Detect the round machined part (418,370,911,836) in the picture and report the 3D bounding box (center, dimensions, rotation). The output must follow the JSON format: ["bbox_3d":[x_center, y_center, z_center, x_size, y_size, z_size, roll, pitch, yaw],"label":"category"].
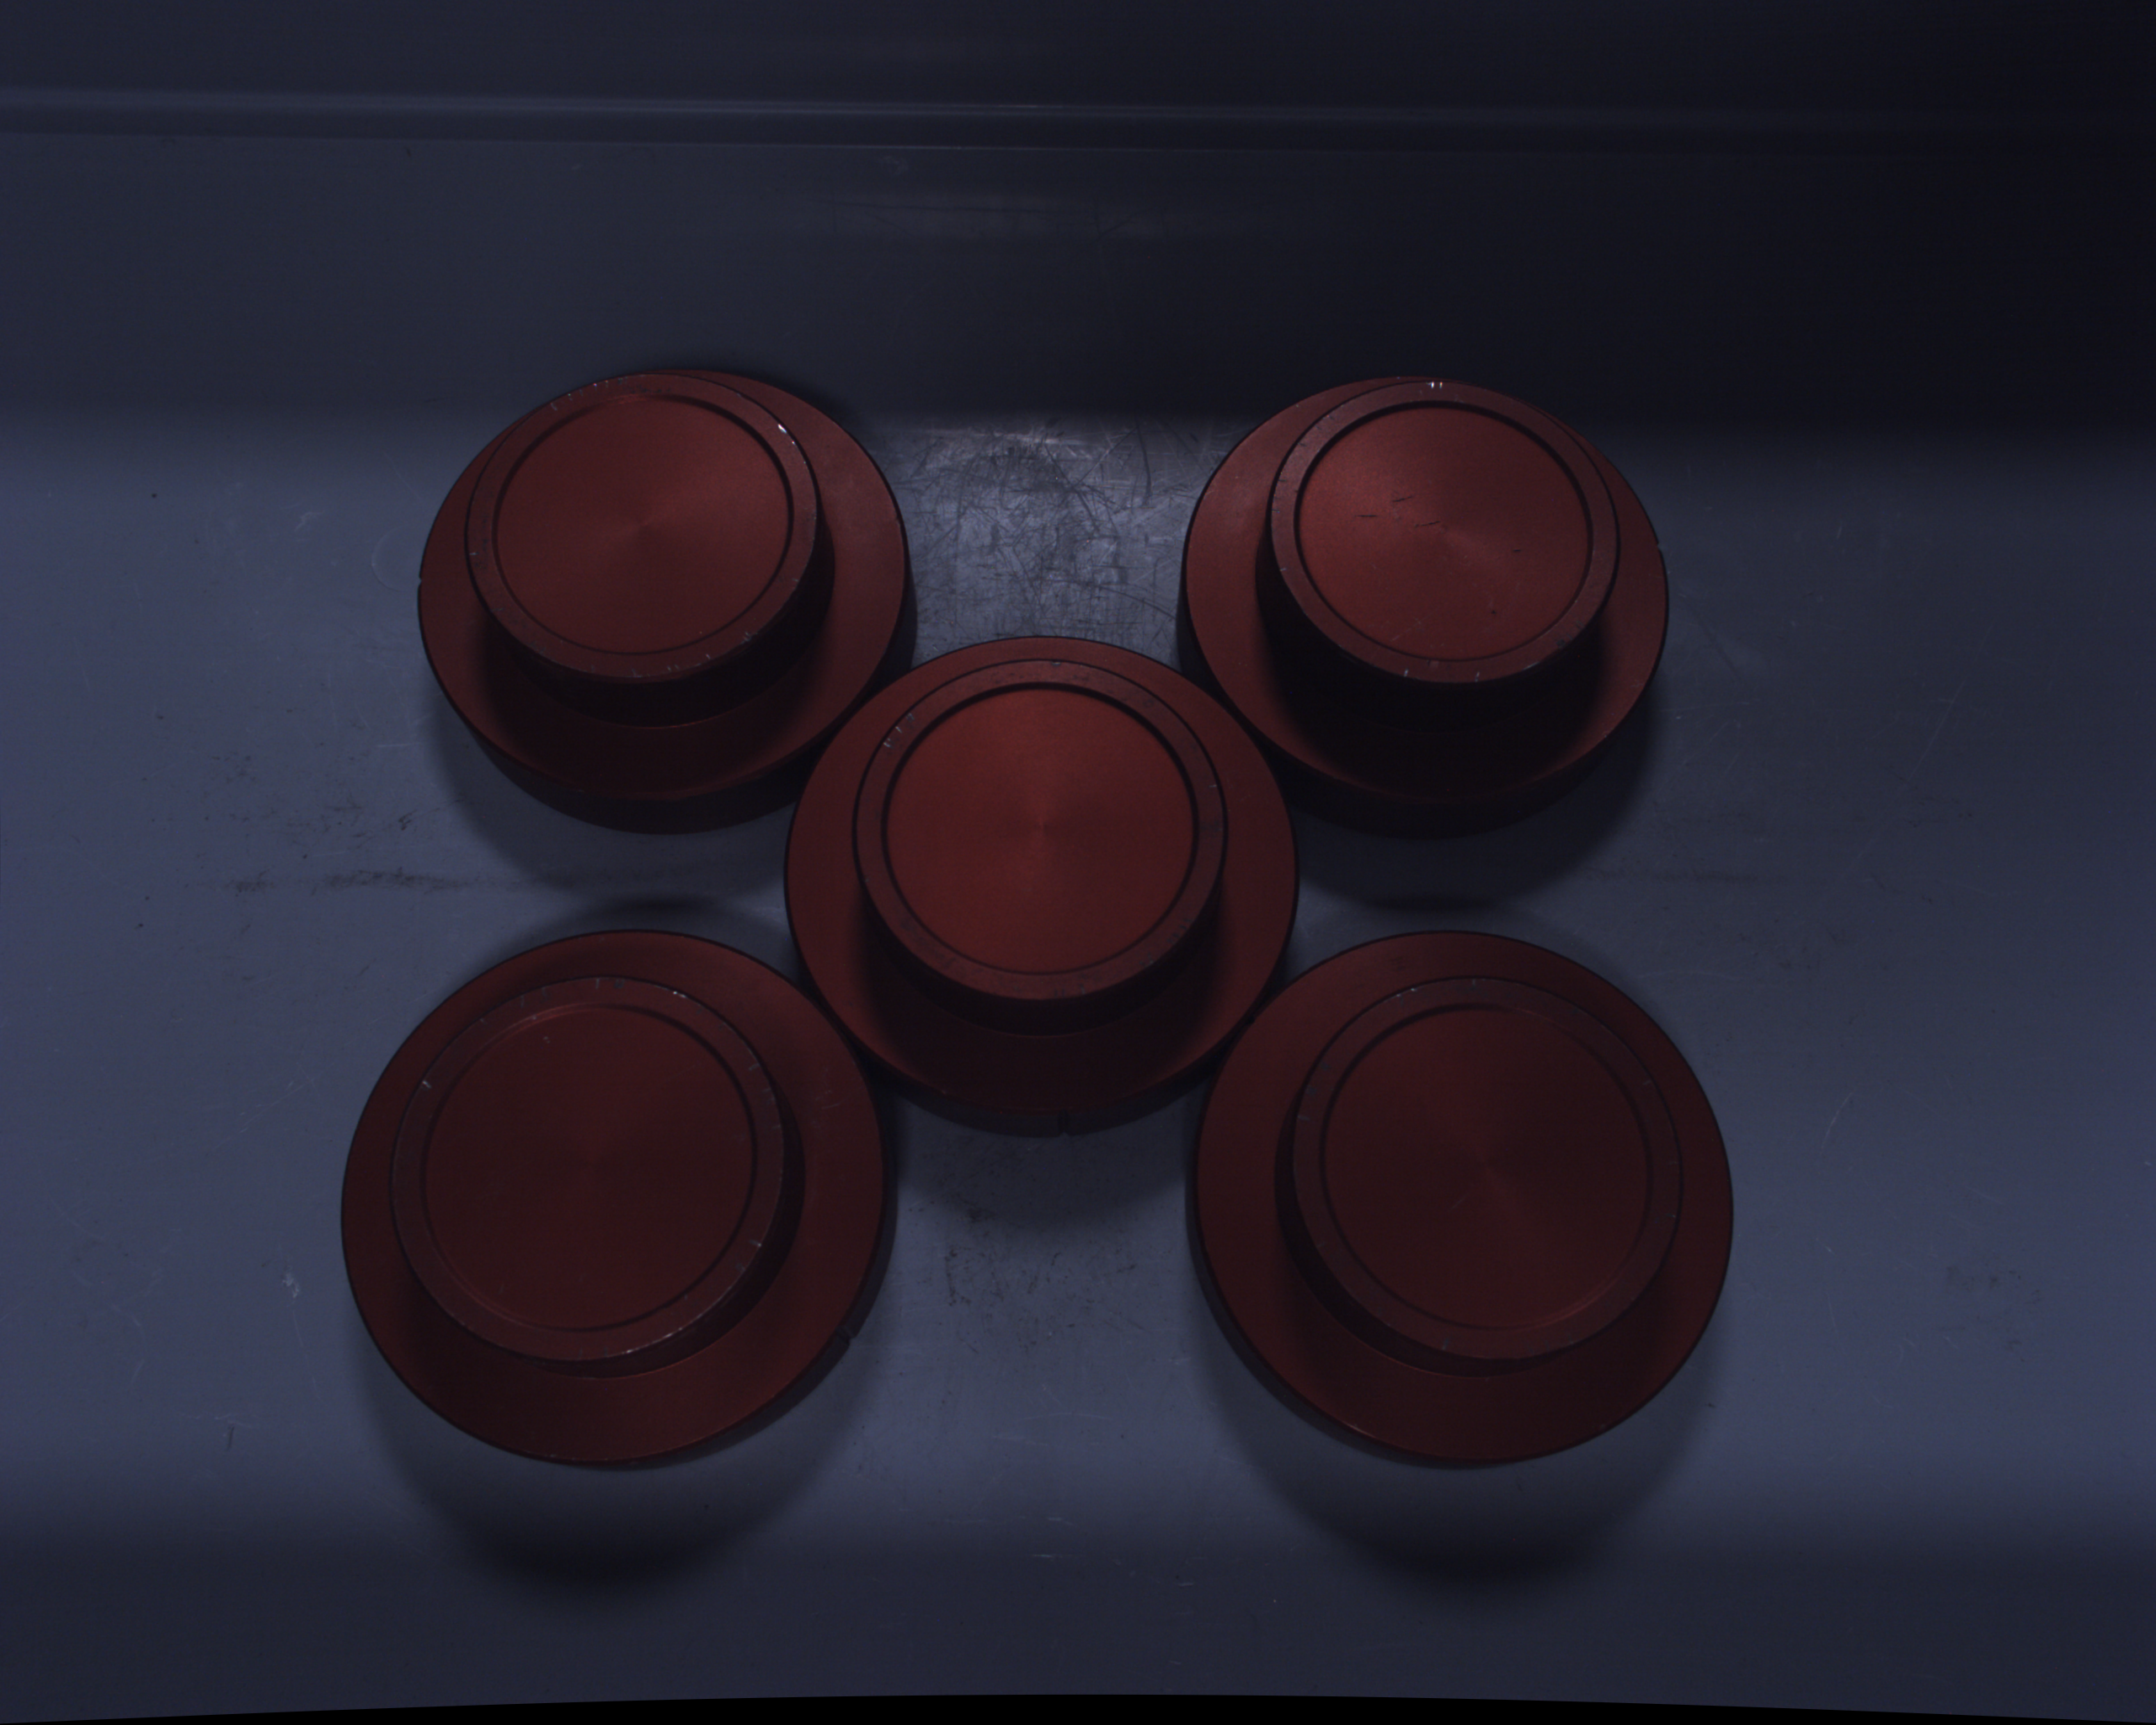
[{"bbox_3d":[-0.083,-0.058,0.419,0.099,0.042,0.098,0,70,-1],"label":"round machined part"}]

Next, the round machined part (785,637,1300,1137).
[{"bbox_3d":[-0.007,0.000,0.398,0.099,0.042,0.098,0,70,-1],"label":"round machined part"}]

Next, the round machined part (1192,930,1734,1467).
[{"bbox_3d":[0.070,0.058,0.379,0.099,0.042,0.098,0,70,-1],"label":"round machined part"}]

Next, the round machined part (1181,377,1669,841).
[{"bbox_3d":[0.070,-0.057,0.421,0.099,0.042,0.098,0,70,-1],"label":"round machined part"}]

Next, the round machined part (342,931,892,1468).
[{"bbox_3d":[-0.084,0.059,0.377,0.099,0.042,0.098,0,70,-1],"label":"round machined part"}]
